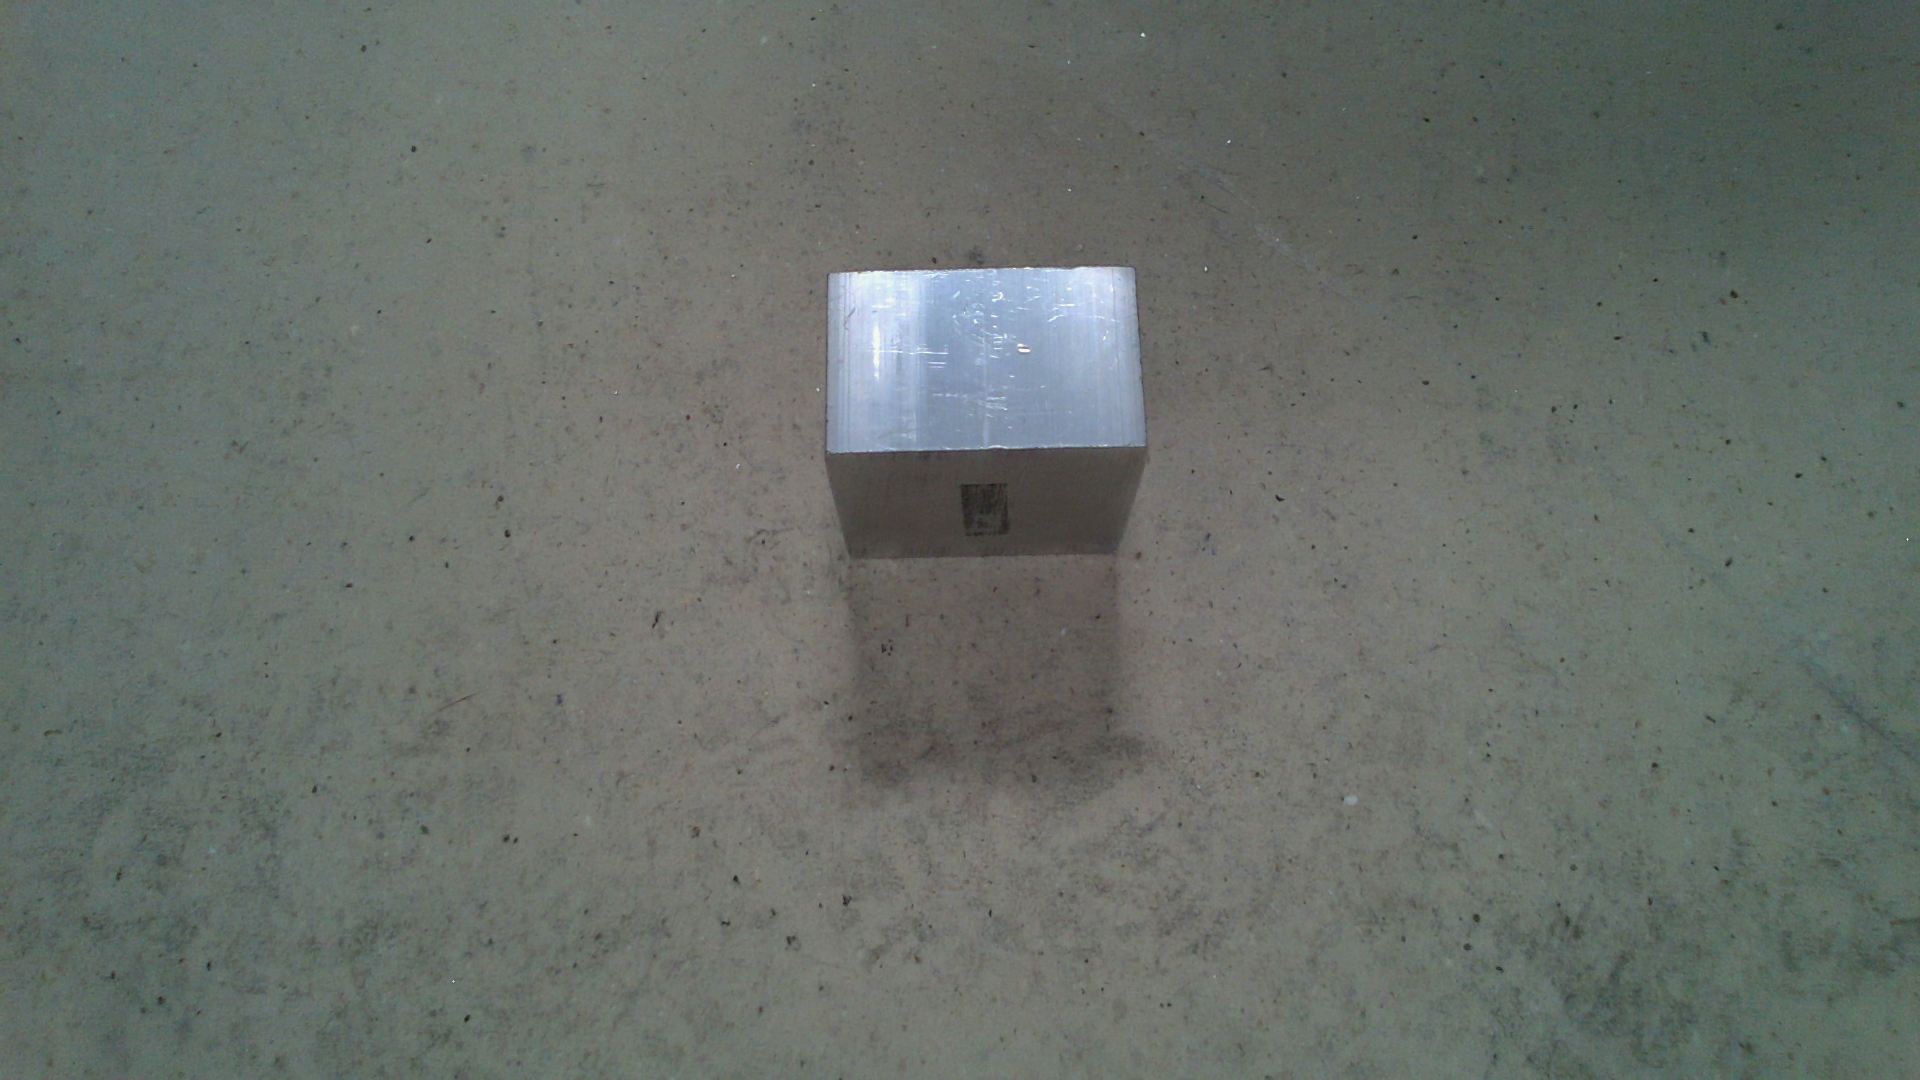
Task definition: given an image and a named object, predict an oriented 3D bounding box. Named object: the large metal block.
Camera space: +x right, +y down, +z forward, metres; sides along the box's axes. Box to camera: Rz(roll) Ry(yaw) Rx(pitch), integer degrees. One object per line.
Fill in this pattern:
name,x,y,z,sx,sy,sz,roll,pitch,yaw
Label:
large metal block,0.006,-0.032,0.377,0.080,0.080,0.050,-1,70,0
